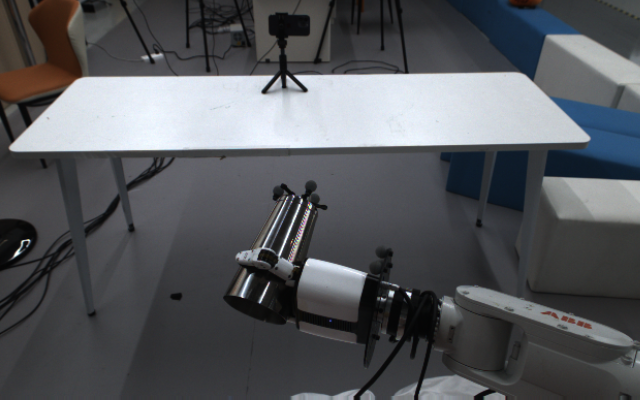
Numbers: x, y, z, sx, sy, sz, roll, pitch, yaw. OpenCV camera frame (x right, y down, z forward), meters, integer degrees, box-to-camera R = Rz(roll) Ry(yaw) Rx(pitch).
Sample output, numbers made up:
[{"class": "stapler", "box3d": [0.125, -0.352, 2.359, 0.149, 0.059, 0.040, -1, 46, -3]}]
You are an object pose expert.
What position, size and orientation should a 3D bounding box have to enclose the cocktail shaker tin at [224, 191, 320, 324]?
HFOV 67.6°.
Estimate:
[{"class": "cocktail shaker tin", "box3d": [-0.063, 0.078, 0.688, 0.093, 0.093, 0.170, 13, 59, 16]}]
